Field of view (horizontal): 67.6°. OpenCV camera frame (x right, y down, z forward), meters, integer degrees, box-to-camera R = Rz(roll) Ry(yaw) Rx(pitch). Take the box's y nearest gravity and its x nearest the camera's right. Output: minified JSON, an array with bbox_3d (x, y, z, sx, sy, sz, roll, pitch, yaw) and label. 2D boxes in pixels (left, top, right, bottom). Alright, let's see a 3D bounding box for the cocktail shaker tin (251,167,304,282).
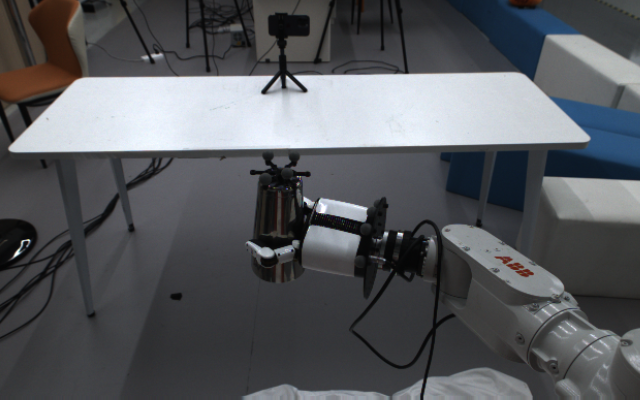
[{"bbox_3d":[-0.062,0.036,0.765,0.093,0.170,0.093,3,34,-2],"label":"cocktail shaker tin"}]
